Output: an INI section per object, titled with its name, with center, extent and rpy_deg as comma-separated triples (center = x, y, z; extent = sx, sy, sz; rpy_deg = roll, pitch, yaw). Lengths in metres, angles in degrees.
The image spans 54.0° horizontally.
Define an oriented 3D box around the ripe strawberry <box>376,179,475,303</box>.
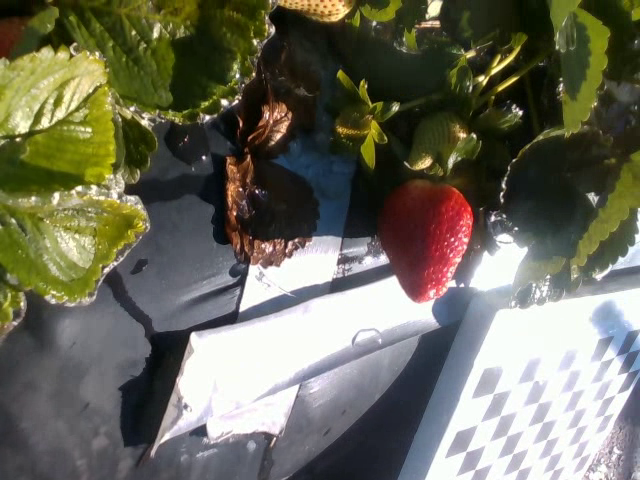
[ripe strawberry]
center = 0.059, 0.008, 0.329
extent = 0.057, 0.065, 0.061
rpy_deg = -13, -33, 26
